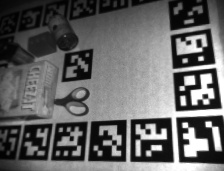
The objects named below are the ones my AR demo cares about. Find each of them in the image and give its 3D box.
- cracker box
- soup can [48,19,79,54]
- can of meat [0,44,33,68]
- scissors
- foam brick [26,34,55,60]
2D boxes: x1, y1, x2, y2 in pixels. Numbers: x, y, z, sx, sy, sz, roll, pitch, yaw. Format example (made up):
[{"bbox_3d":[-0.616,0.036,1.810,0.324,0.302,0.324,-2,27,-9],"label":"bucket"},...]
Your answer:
[{"bbox_3d":[-0.290,0.037,0.653,0.212,0.073,0.163,-11,69,22],"label":"cracker box"},{"bbox_3d":[-0.158,-0.157,0.692,0.068,0.069,0.101,-41,58,6],"label":"soup can"},{"bbox_3d":[-0.332,-0.091,0.717,0.101,0.085,0.058,9,78,24],"label":"can of meat"},{"bbox_3d":[-0.172,0.070,0.632,0.201,0.016,0.087,-10,71,18],"label":"scissors"},{"bbox_3d":[-0.235,-0.124,0.712,0.077,0.052,0.052,-16,69,16],"label":"foam brick"}]
